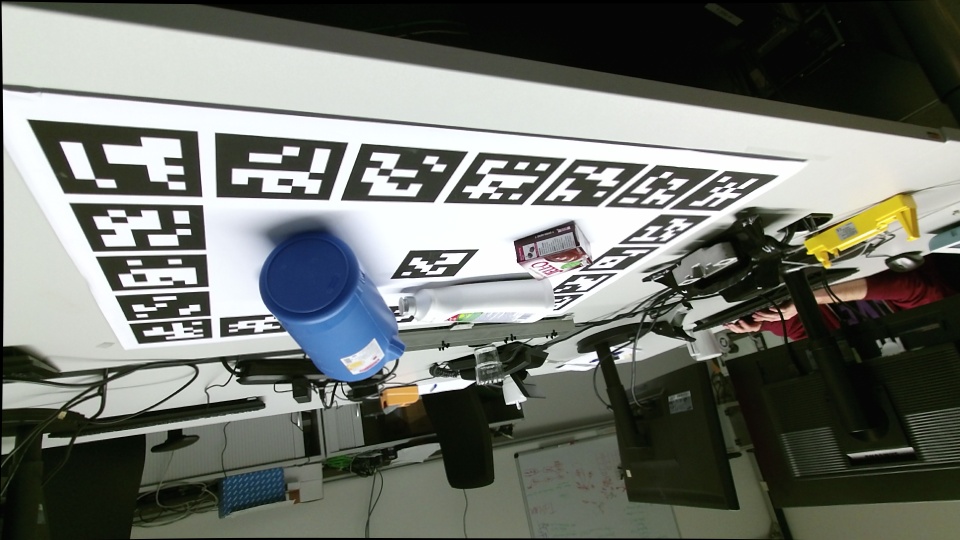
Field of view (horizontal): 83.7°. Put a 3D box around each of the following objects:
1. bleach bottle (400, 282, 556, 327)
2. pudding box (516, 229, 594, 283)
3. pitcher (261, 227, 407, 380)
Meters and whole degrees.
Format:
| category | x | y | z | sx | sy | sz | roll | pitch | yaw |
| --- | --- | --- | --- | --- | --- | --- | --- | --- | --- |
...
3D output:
| category | x | y | z | sx | sy | sz | roll | pitch | yaw |
| --- | --- | --- | --- | --- | --- | --- | --- | --- | --- |
| bleach bottle | -0.007 | 0.066 | 0.902 | 0.252 | 0.067 | 0.103 | -2 | 152 | -22 |
| pudding box | 0.112 | -0.016 | 0.787 | 0.090 | 0.038 | 0.114 | -14 | 158 | 18 |
| pitcher | -0.198 | 0.044 | 0.696 | 0.189 | 0.133 | 0.243 | 19 | 156 | 12 |
